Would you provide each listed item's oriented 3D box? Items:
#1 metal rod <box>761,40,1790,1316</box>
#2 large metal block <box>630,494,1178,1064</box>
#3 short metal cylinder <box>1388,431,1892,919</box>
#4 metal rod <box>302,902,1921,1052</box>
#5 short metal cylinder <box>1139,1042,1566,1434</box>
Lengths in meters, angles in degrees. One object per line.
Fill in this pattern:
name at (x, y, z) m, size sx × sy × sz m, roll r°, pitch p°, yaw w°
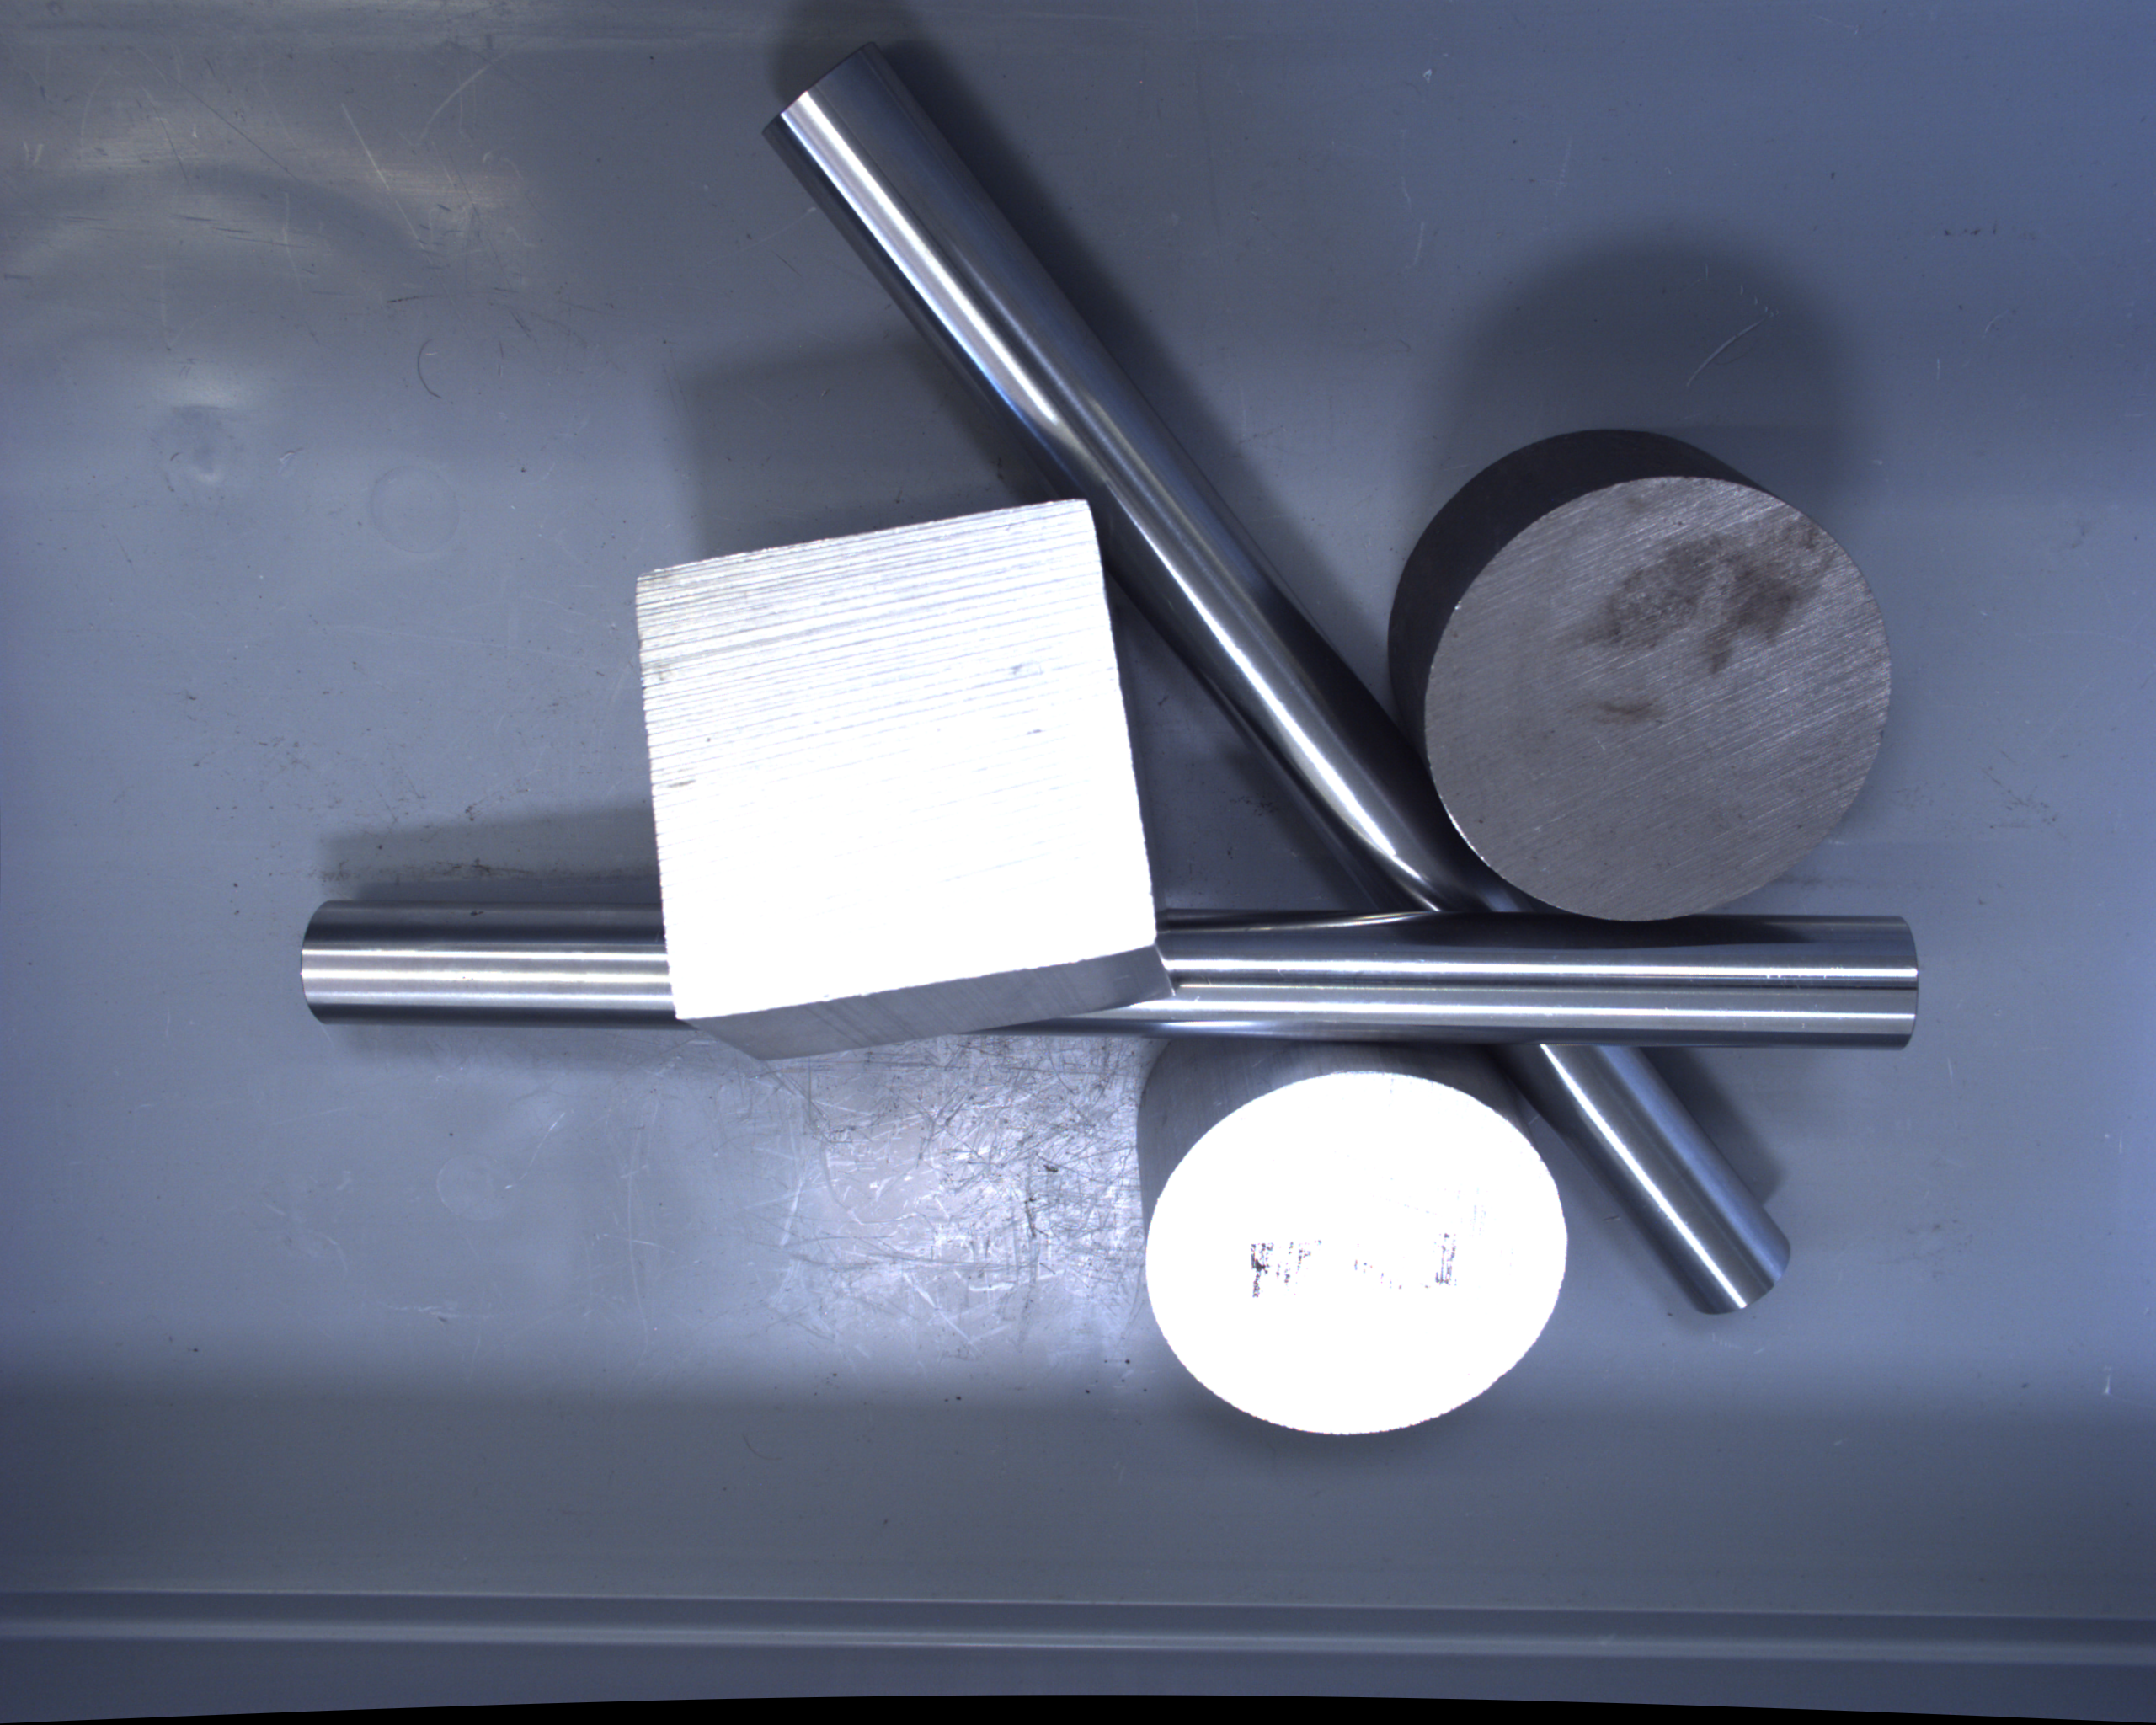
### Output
metal rod at (0.047, -0.023, 0.402) m, size 0.025 × 0.025 × 0.300 m, roll -36°, pitch 107°, yaw 12°
large metal block at (-0.030, -0.012, 0.372) m, size 0.080 × 0.050 × 0.080 m, roll -9°, pitch 75°, yaw 3°
short metal cylinder at (0.100, -0.036, 0.384) m, size 0.081 × 0.050 × 0.079 m, roll 0°, pitch 110°, yaw 0°
metal rod at (0.002, 0.021, 0.399) m, size 0.302 × 0.025 × 0.025 m, roll 0°, pitch 110°, yaw 6°
short metal cylinder at (0.053, 0.067, 0.421) m, size 0.081 × 0.050 × 0.079 m, roll 0°, pitch 110°, yaw 0°
